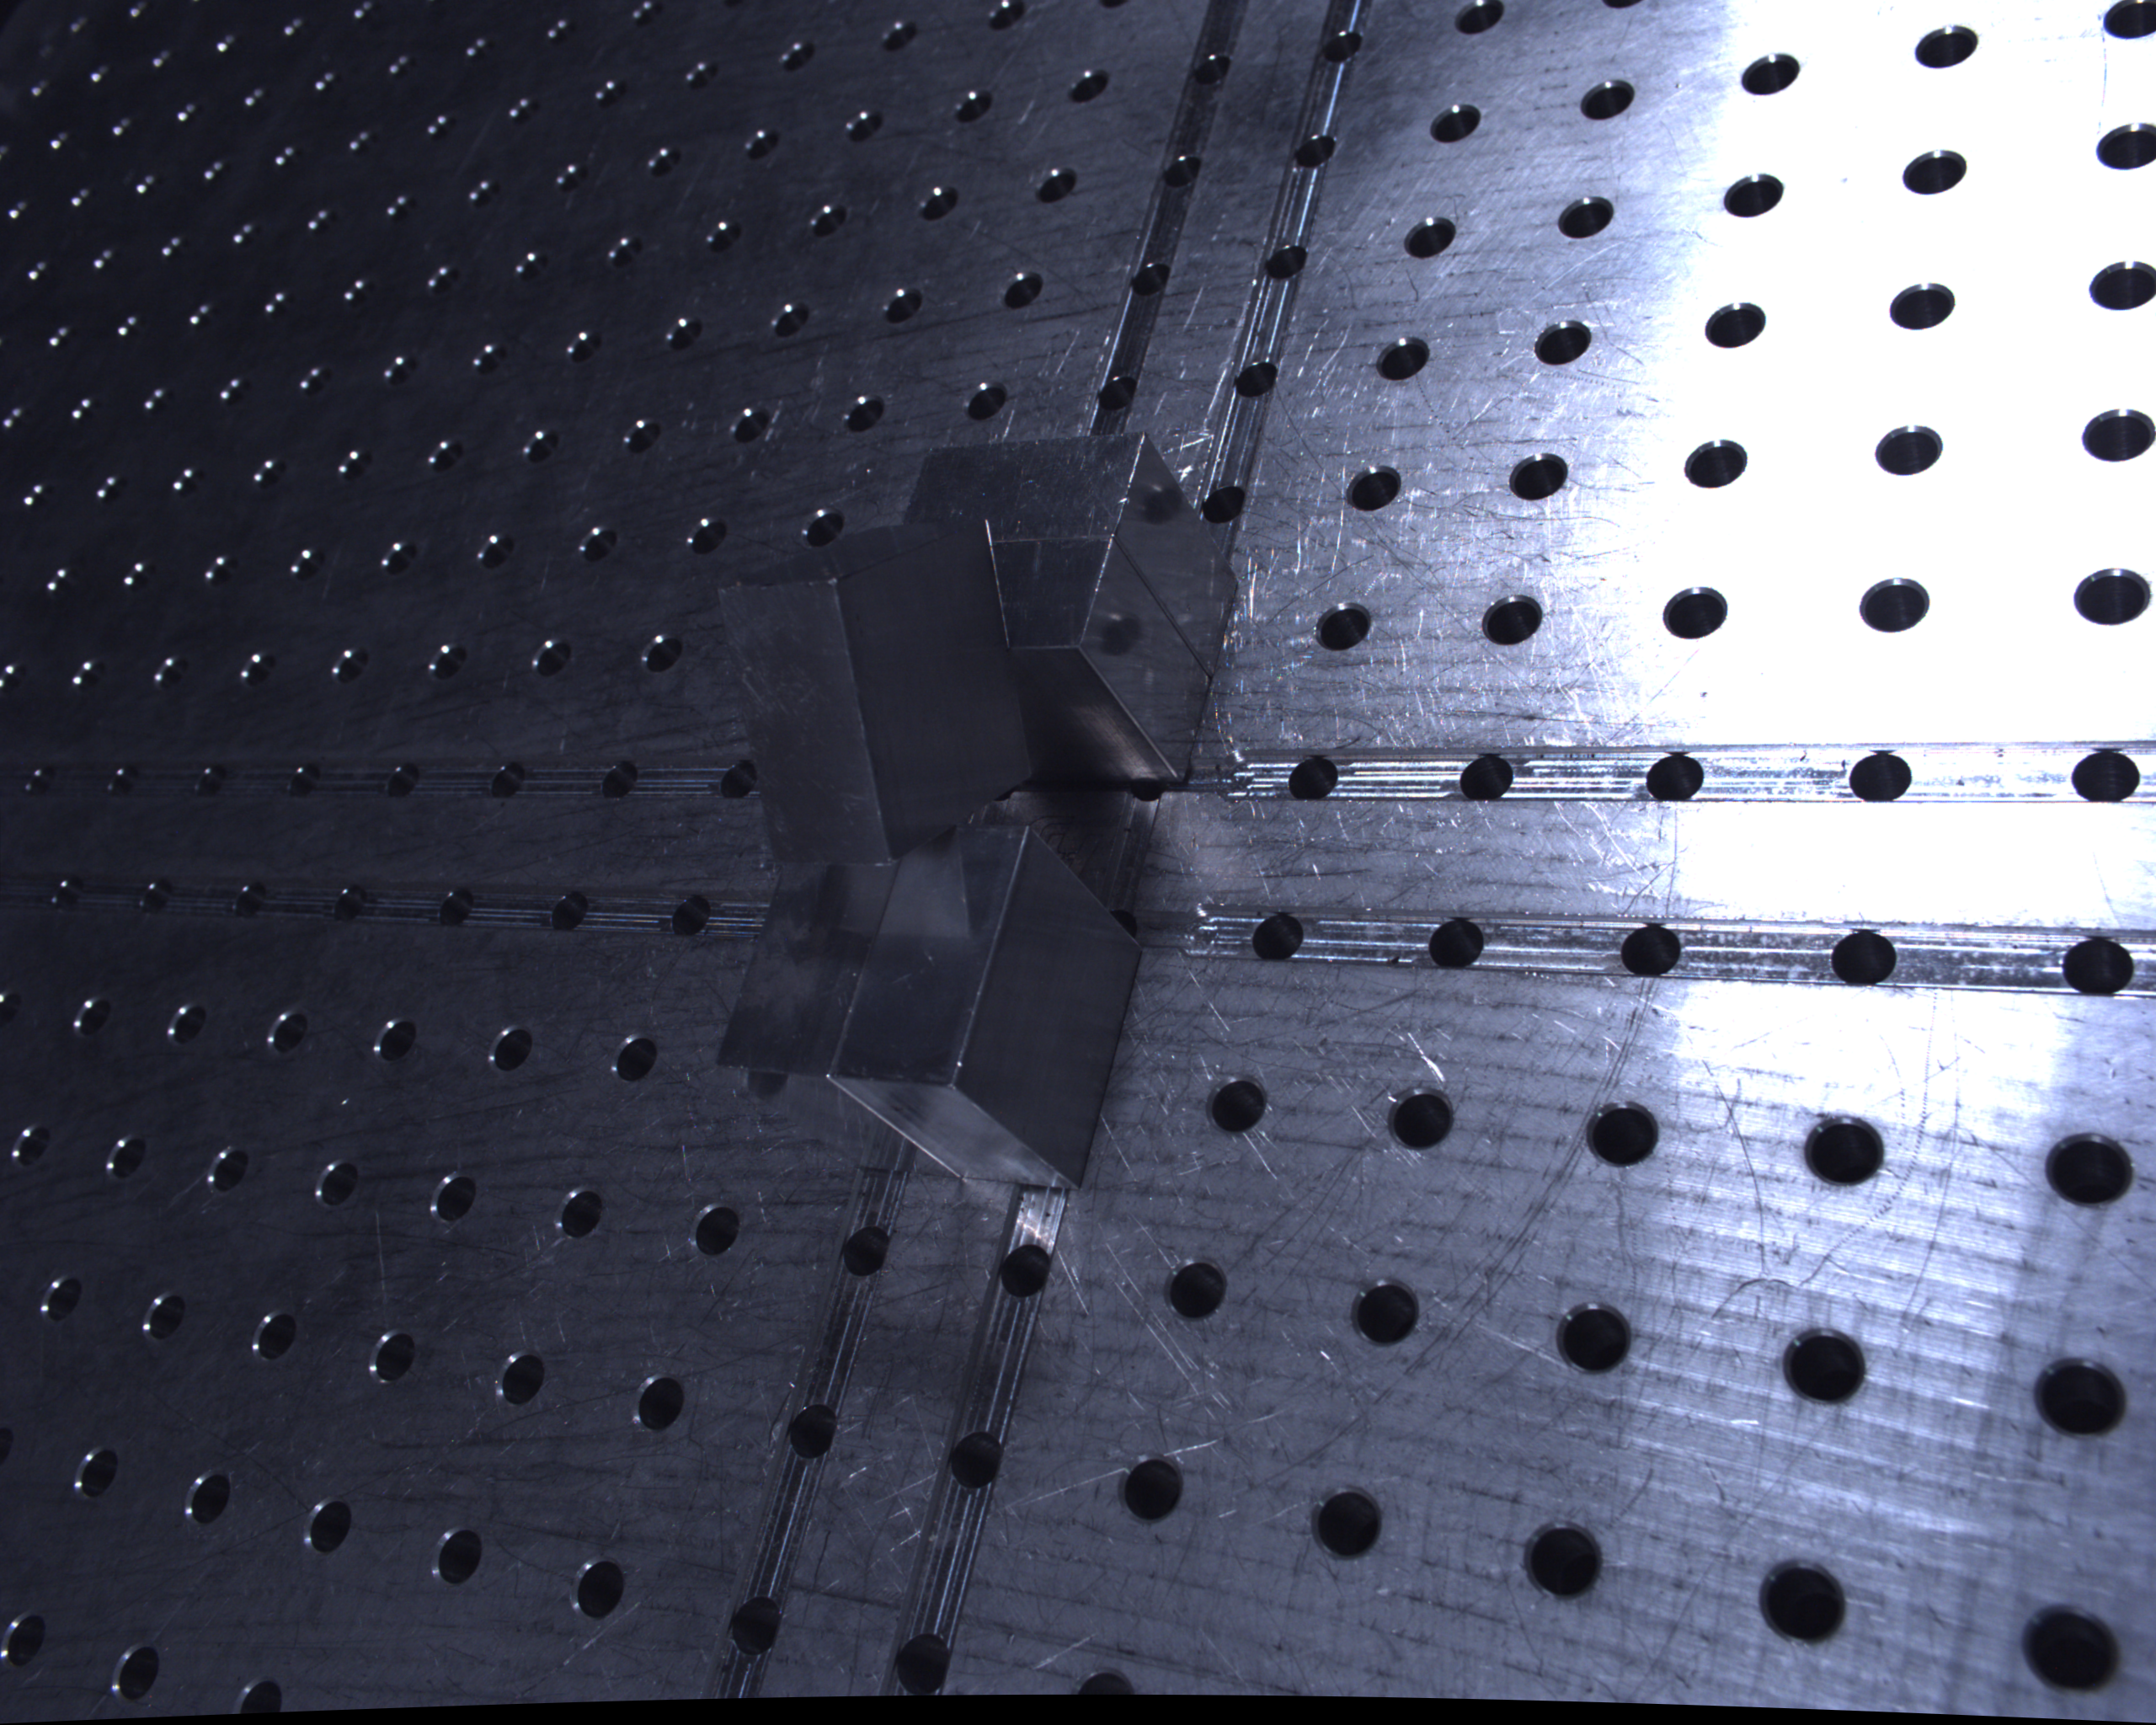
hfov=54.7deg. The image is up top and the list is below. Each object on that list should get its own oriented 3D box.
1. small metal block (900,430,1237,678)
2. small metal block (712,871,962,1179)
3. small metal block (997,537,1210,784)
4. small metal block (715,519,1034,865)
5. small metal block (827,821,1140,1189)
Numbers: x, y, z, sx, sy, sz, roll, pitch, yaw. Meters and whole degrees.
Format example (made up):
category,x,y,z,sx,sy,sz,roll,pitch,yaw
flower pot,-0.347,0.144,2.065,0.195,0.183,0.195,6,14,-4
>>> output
category,x,y,z,sx,sy,sz,roll,pitch,yaw
small metal block,-0.002,-0.062,0.429,0.050,0.050,0.025,2,63,29
small metal block,-0.037,0.026,0.394,0.025,0.050,0.050,1,63,29
small metal block,-0.008,-0.039,0.419,0.050,0.050,0.025,2,63,29
small metal block,-0.035,-0.031,0.375,0.025,0.050,0.050,0,19,29
small metal block,-0.016,0.026,0.381,0.025,0.050,0.050,1,63,29
